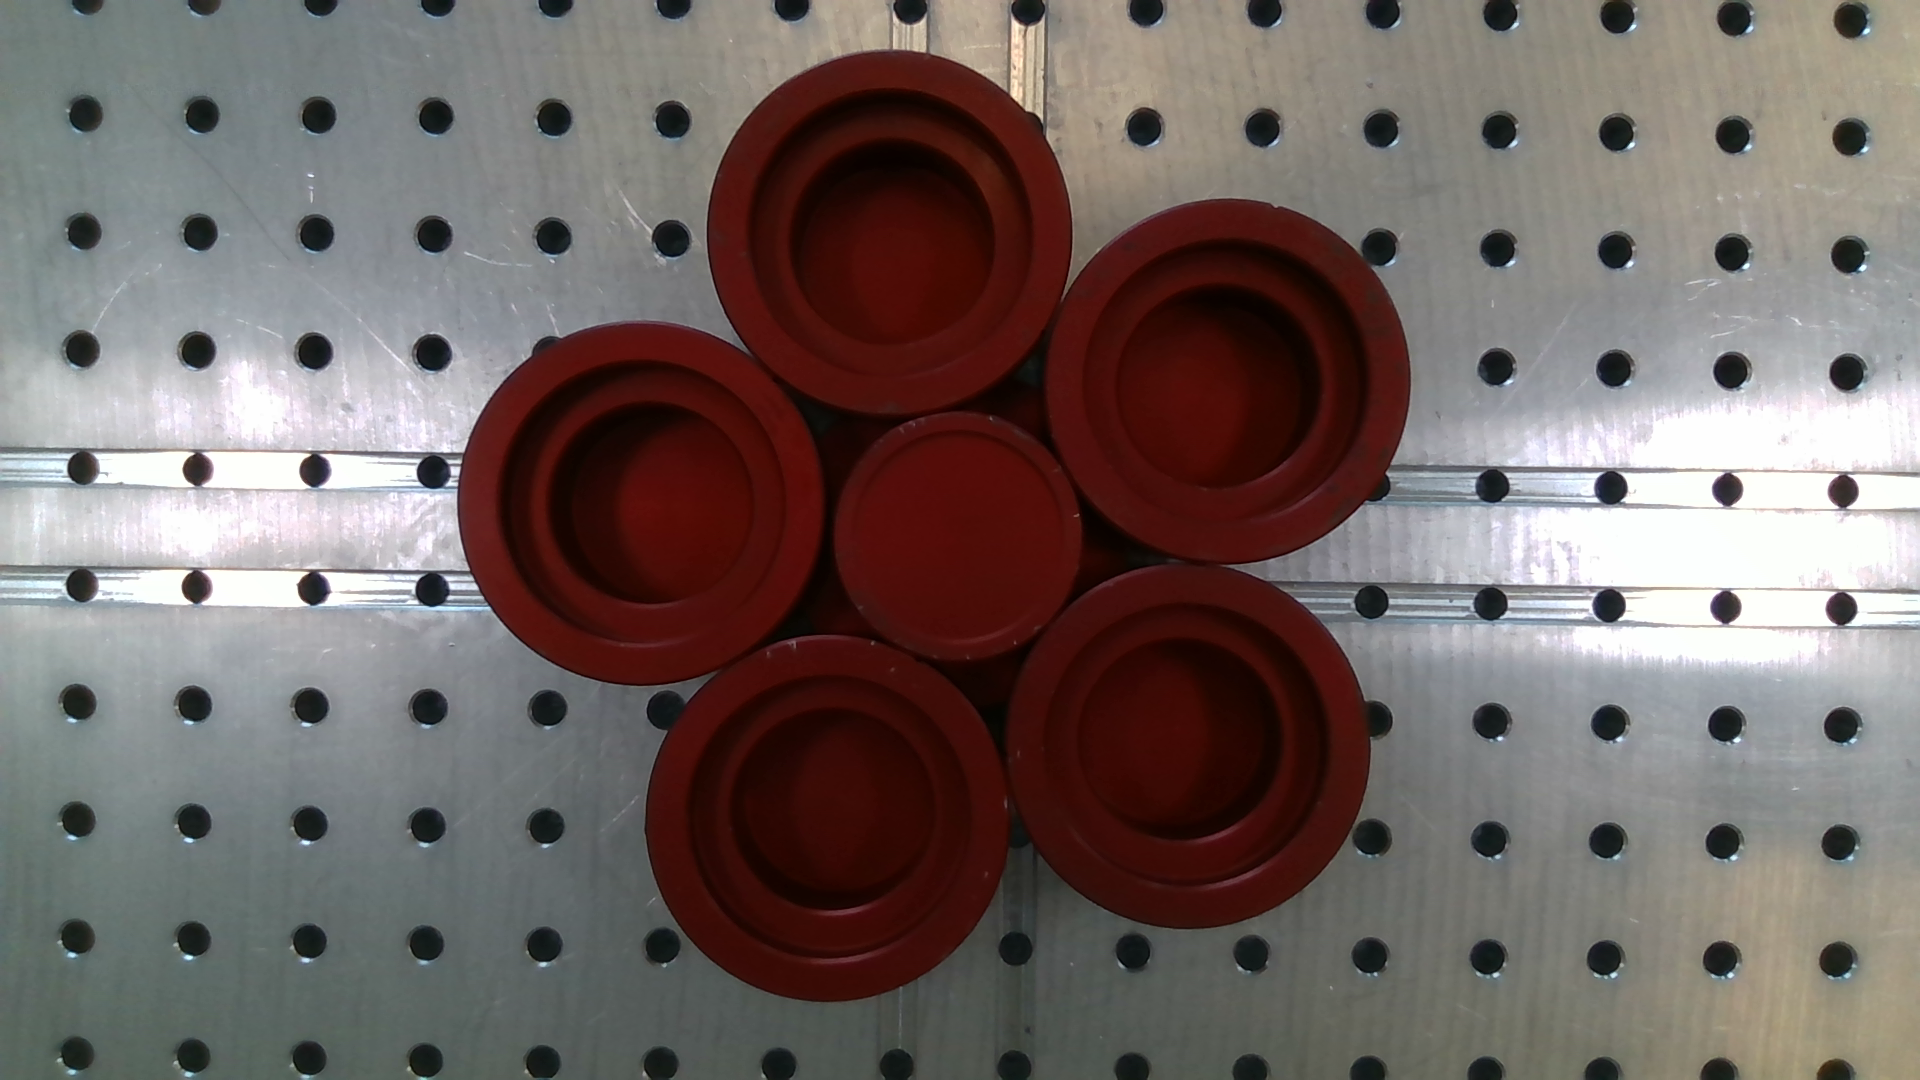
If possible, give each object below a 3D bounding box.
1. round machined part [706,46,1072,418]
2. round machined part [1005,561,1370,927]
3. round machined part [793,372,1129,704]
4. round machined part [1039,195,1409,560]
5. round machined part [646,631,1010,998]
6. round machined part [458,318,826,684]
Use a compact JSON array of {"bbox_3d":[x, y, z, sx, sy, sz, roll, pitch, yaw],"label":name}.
[{"bbox_3d":[-0.019,-0.083,0.388,0.098,0.042,0.098,0,90,0],"label":"round machined part"},{"bbox_3d":[0.061,0.055,0.389,0.098,0.042,0.098,0,90,0],"label":"round machined part"},{"bbox_3d":[-0.001,-0.002,0.389,0.098,0.042,0.098,0,90,0],"label":"round machined part"},{"bbox_3d":[0.071,-0.043,0.389,0.098,0.042,0.098,0,90,0],"label":"round machined part"},{"bbox_3d":[-0.035,0.074,0.389,0.098,0.042,0.098,0,90,0],"label":"round machined part"},{"bbox_3d":[-0.085,-0.010,0.388,0.098,0.042,0.098,0,90,0],"label":"round machined part"}]
